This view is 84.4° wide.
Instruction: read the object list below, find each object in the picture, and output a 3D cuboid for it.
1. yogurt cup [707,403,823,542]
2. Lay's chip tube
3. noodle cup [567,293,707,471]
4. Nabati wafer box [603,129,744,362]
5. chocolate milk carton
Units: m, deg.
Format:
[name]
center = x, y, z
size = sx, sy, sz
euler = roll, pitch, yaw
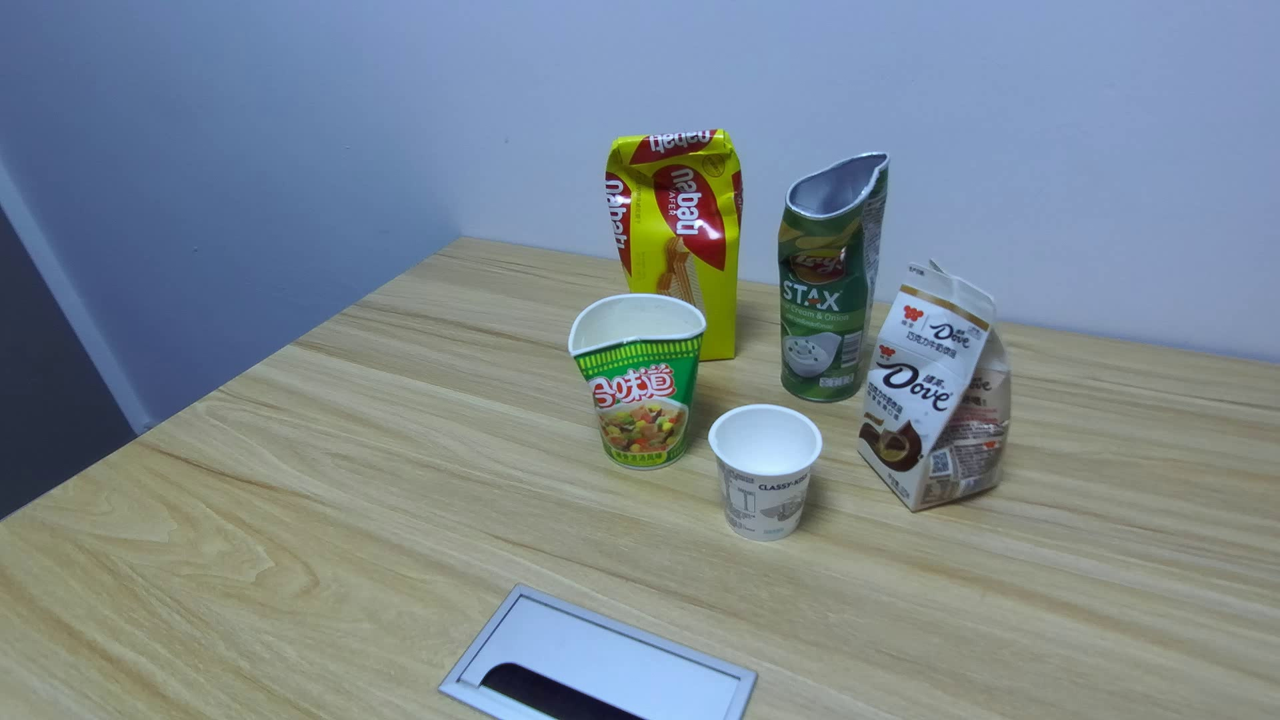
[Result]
[yogurt cup]
center = 0.083, 0.077, 0.470
size = 0.072, 0.068, 0.072
euler = -4, 34, 3
[Lay's chip tube]
center = 0.147, -0.055, 0.549
size = 0.079, 0.200, 0.071
euler = 1, 43, 11
[noodle cup]
center = 0.003, 0.018, 0.532
size = 0.093, 0.109, 0.087
euler = 3, 34, 12
[Nabati wafer box]
center = 0.034, -0.091, 0.608
size = 0.113, 0.205, 0.042
euler = -6, 32, 1
[chocolate milk carton]
center = 0.203, 0.016, 0.473
size = 0.073, 0.155, 0.084
euler = -13, 35, -12
